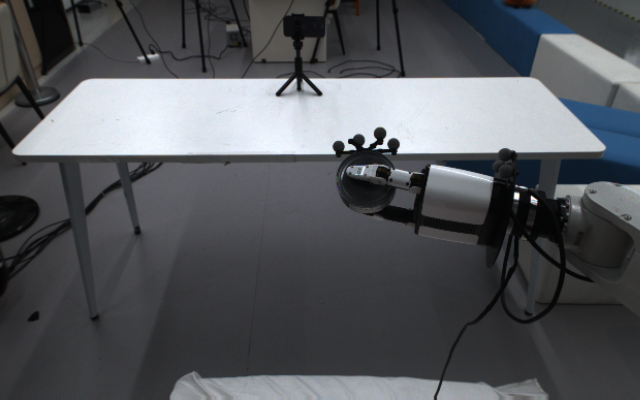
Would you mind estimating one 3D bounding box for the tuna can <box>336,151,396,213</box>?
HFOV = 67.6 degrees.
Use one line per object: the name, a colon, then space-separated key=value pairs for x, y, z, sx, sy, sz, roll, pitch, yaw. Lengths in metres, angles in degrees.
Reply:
tuna can: x=0.067 y=-0.026 z=0.686 sx=0.085 sy=0.034 sz=0.085 roll=-2 pitch=69 yaw=6
